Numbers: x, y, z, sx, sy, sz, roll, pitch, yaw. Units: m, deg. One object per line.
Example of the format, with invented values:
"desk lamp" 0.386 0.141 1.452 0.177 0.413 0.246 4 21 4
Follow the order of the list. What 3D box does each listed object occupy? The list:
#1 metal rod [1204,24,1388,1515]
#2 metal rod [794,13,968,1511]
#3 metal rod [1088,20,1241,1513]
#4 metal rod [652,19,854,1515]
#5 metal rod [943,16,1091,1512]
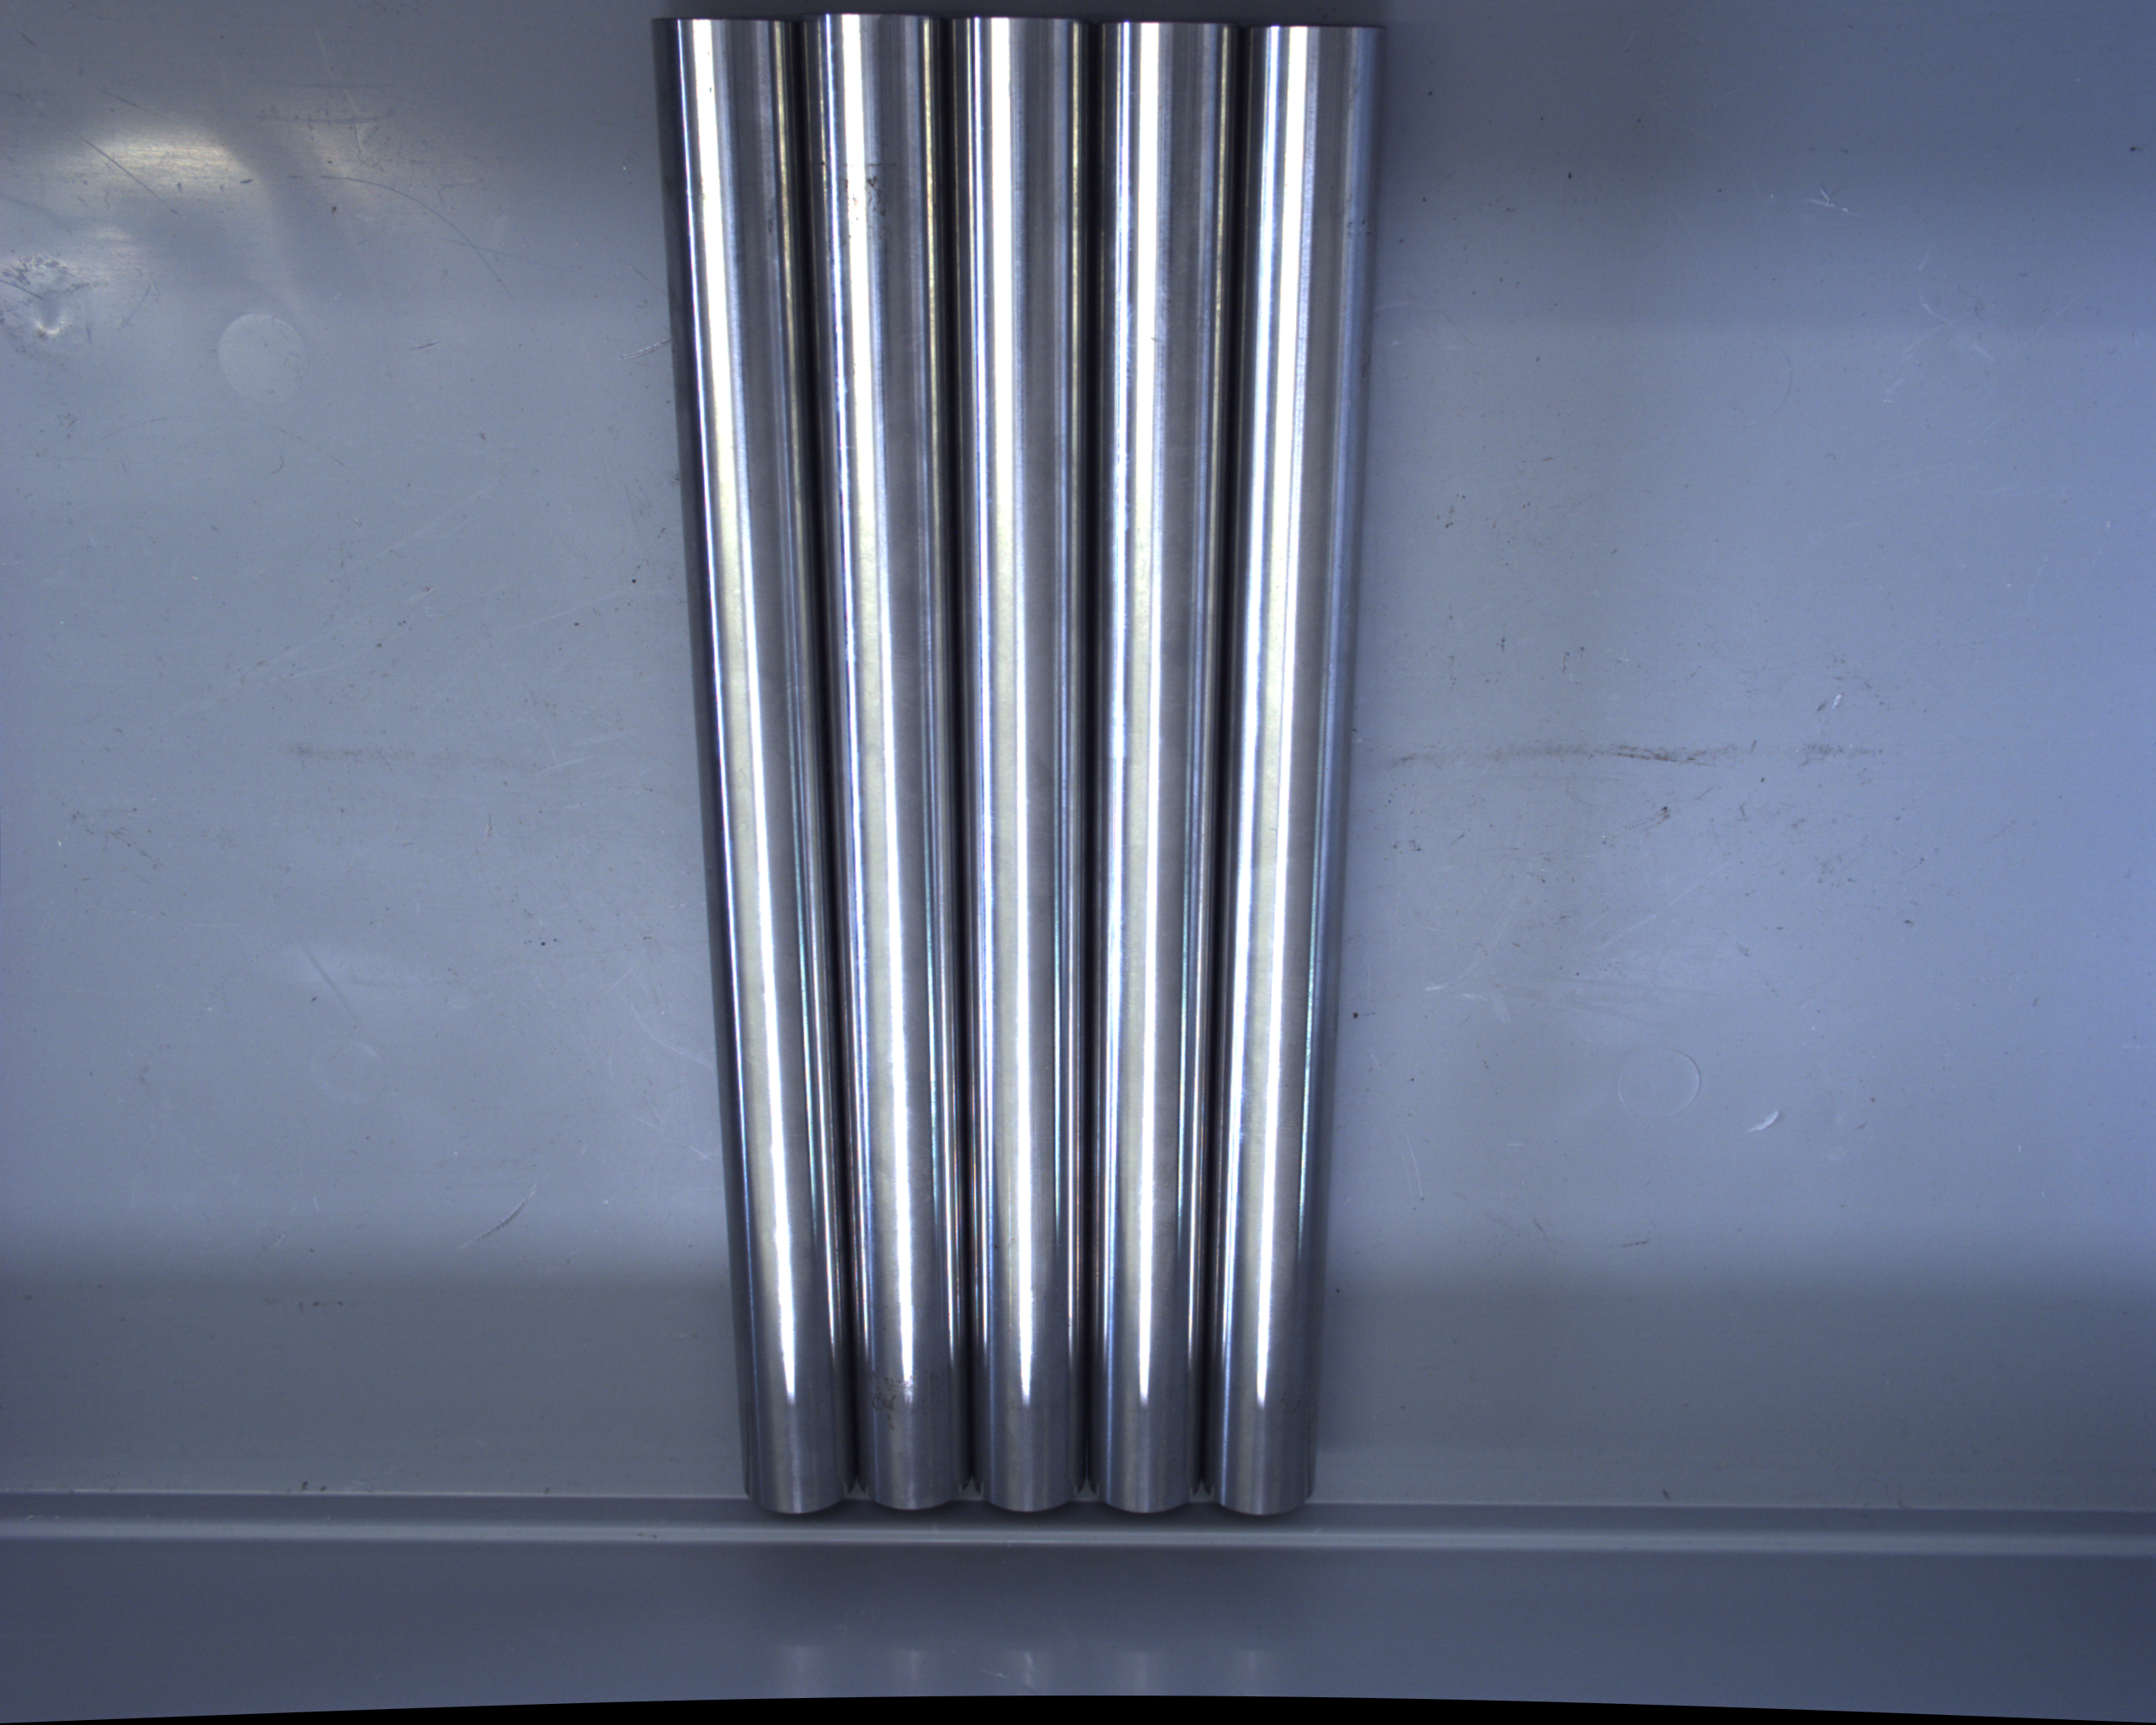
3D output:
"metal rod" 0.040 -0.004 0.409 0.025 0.025 0.298 0 110 0
"metal rod" -0.036 -0.005 0.408 0.025 0.025 0.298 0 110 0
"metal rod" 0.015 -0.004 0.408 0.025 0.025 0.298 0 110 0
"metal rod" -0.060 -0.004 0.408 0.025 0.025 0.298 0 110 0
"metal rod" -0.011 -0.005 0.408 0.025 0.025 0.298 0 110 0
